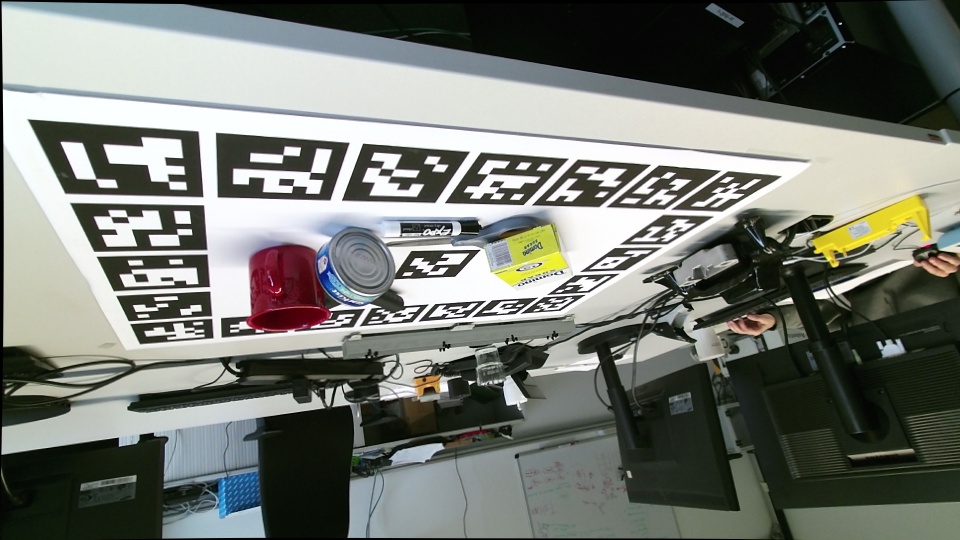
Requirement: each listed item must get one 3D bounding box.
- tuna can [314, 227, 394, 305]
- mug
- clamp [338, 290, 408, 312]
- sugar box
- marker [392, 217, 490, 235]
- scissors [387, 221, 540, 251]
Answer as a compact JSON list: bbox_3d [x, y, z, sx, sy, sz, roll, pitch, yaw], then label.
[{"bbox_3d":[-0.142,-0.006,0.615,0.086,0.085,0.034,7,151,-41],"label":"tuna can"},{"bbox_3d":[-0.218,0.014,0.634,0.093,0.081,0.117,-13,162,0],"label":"mug"},{"bbox_3d":[-0.177,0.024,0.759,0.166,0.036,0.203,-6,156,-16],"label":"clamp"},{"bbox_3d":[0.073,-0.014,0.756,0.093,0.045,0.177,-16,164,9],"label":"sugar box"},{"bbox_3d":[-0.044,-0.053,0.643,0.121,0.019,0.019,-4,156,-23],"label":"marker"},{"bbox_3d":[-0.018,-0.035,0.696,0.203,0.016,0.088,-5,161,-15],"label":"scissors"}]
